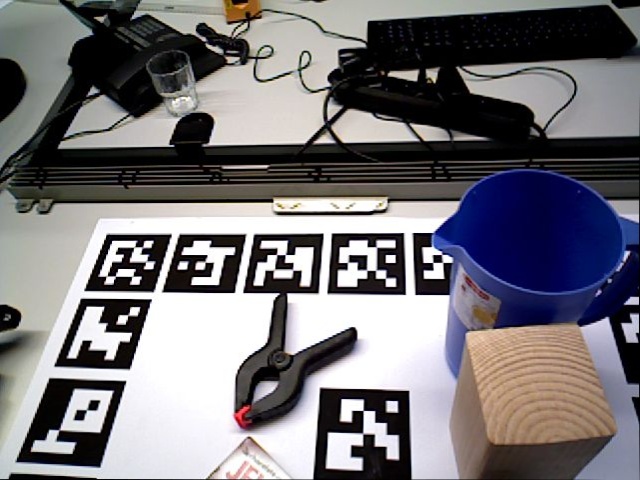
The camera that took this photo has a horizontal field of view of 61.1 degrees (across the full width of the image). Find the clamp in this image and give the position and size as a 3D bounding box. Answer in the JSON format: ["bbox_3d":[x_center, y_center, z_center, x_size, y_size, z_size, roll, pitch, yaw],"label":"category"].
[{"bbox_3d":[-0.038,0.144,0.622,0.122,0.037,0.162,29,61,19],"label":"clamp"}]

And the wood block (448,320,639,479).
[{"bbox_3d":[0.172,0.160,0.454,0.089,0.210,0.089,0,50,3],"label":"wood block"}]

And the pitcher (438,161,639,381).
[{"bbox_3d":[0.206,0.057,0.512,0.189,0.247,0.131,-2,48,10],"label":"pitcher"}]

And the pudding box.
[{"bbox_3d":[-0.073,0.264,0.523,0.114,0.039,0.088,33,65,30],"label":"pudding box"}]
